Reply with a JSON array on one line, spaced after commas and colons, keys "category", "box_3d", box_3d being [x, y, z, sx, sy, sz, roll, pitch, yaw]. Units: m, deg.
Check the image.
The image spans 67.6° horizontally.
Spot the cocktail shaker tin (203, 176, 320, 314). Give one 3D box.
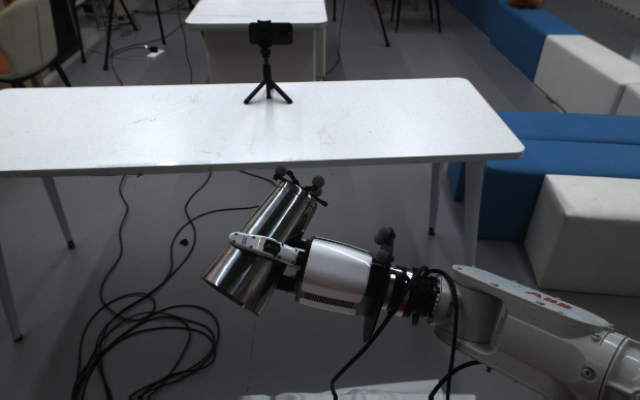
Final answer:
[{"category": "cocktail shaker tin", "box_3d": [-0.076, 0.058, 0.660, 0.093, 0.093, 0.170, 22, 67, 26]}]
